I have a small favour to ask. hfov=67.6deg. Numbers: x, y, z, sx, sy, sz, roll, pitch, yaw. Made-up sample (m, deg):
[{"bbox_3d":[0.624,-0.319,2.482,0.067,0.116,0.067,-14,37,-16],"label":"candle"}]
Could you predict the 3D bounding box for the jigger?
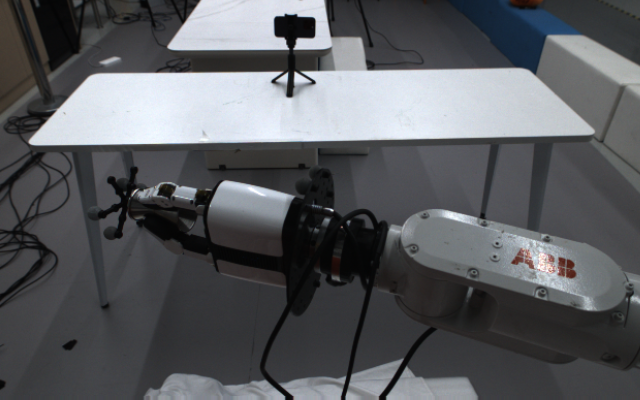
[{"bbox_3d":[-0.178,0.007,0.566,0.071,0.043,0.043,10,35,16],"label":"jigger"}]
